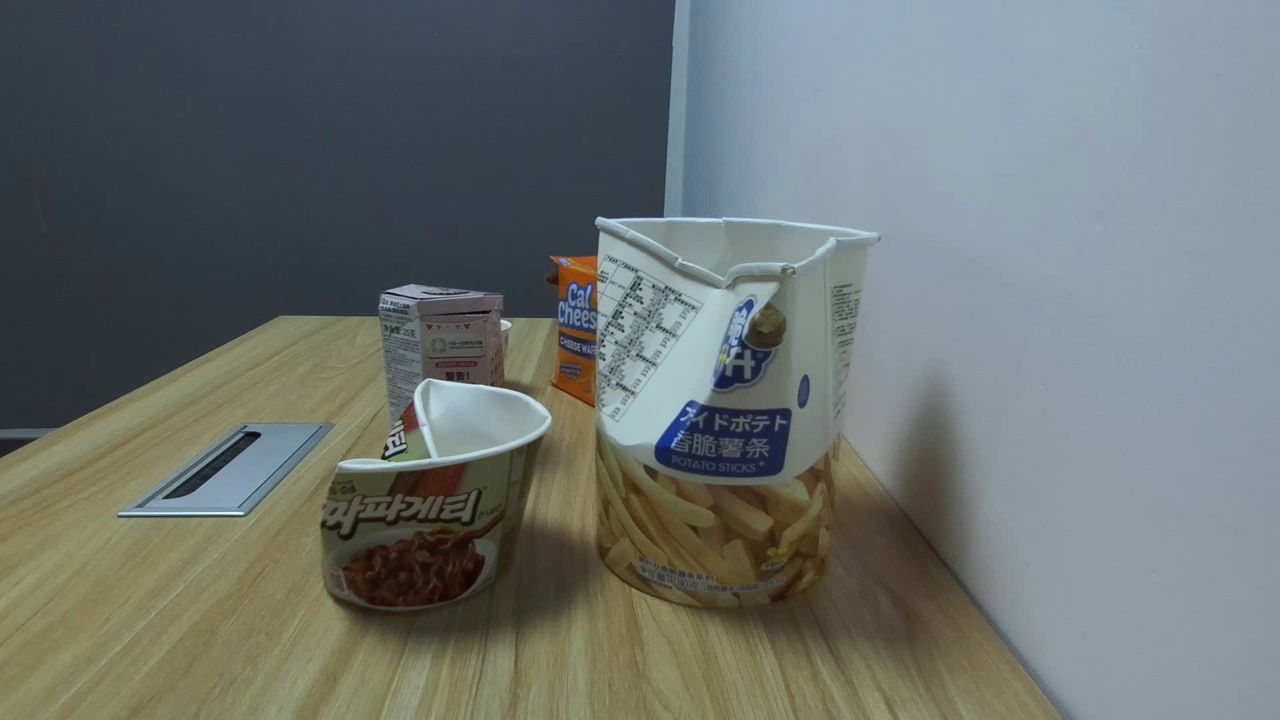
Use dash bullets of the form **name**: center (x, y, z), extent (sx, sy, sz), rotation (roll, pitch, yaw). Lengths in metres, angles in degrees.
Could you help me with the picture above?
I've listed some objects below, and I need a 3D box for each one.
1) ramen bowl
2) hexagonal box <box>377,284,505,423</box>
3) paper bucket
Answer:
- **ramen bowl**: center (-0.121, 0.076, 0.406), extent (0.137, 0.098, 0.137), rotation (2, 20, 0)
- **hexagonal box**: center (-0.150, 0.011, 0.550), extent (0.092, 0.135, 0.084), rotation (-5, 18, -19)
- **paper bucket**: center (0.040, 0.019, 0.428), extent (0.162, 0.202, 0.170), rotation (10, 17, 29)
